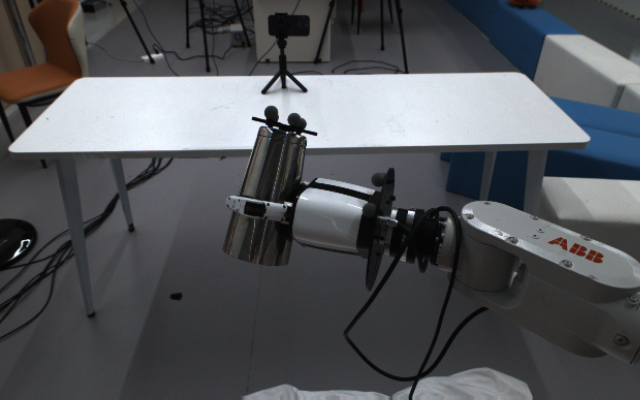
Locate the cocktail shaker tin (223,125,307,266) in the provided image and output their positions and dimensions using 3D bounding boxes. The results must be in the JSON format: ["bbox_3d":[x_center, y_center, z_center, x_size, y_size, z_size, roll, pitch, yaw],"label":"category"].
[{"bbox_3d":[-0.067,-0.007,0.648,0.093,0.170,0.093,13,4,-1],"label":"cocktail shaker tin"}]
